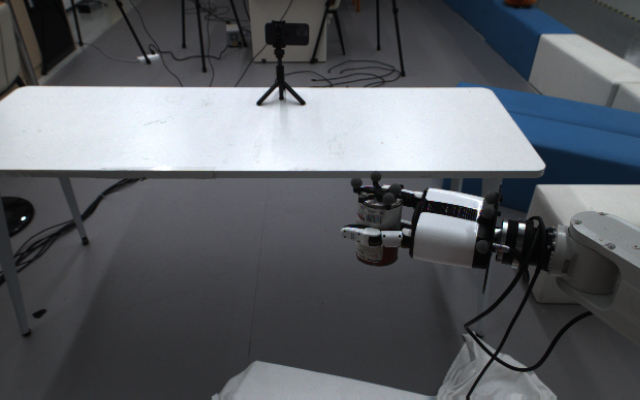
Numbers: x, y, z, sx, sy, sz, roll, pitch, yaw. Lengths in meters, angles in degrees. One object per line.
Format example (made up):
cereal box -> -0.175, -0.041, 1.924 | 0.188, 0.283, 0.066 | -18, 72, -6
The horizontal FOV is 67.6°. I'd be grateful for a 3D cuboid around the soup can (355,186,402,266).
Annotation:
soup can -> 0.091, 0.041, 0.738 | 0.067, 0.101, 0.067 | 1, 25, 0
